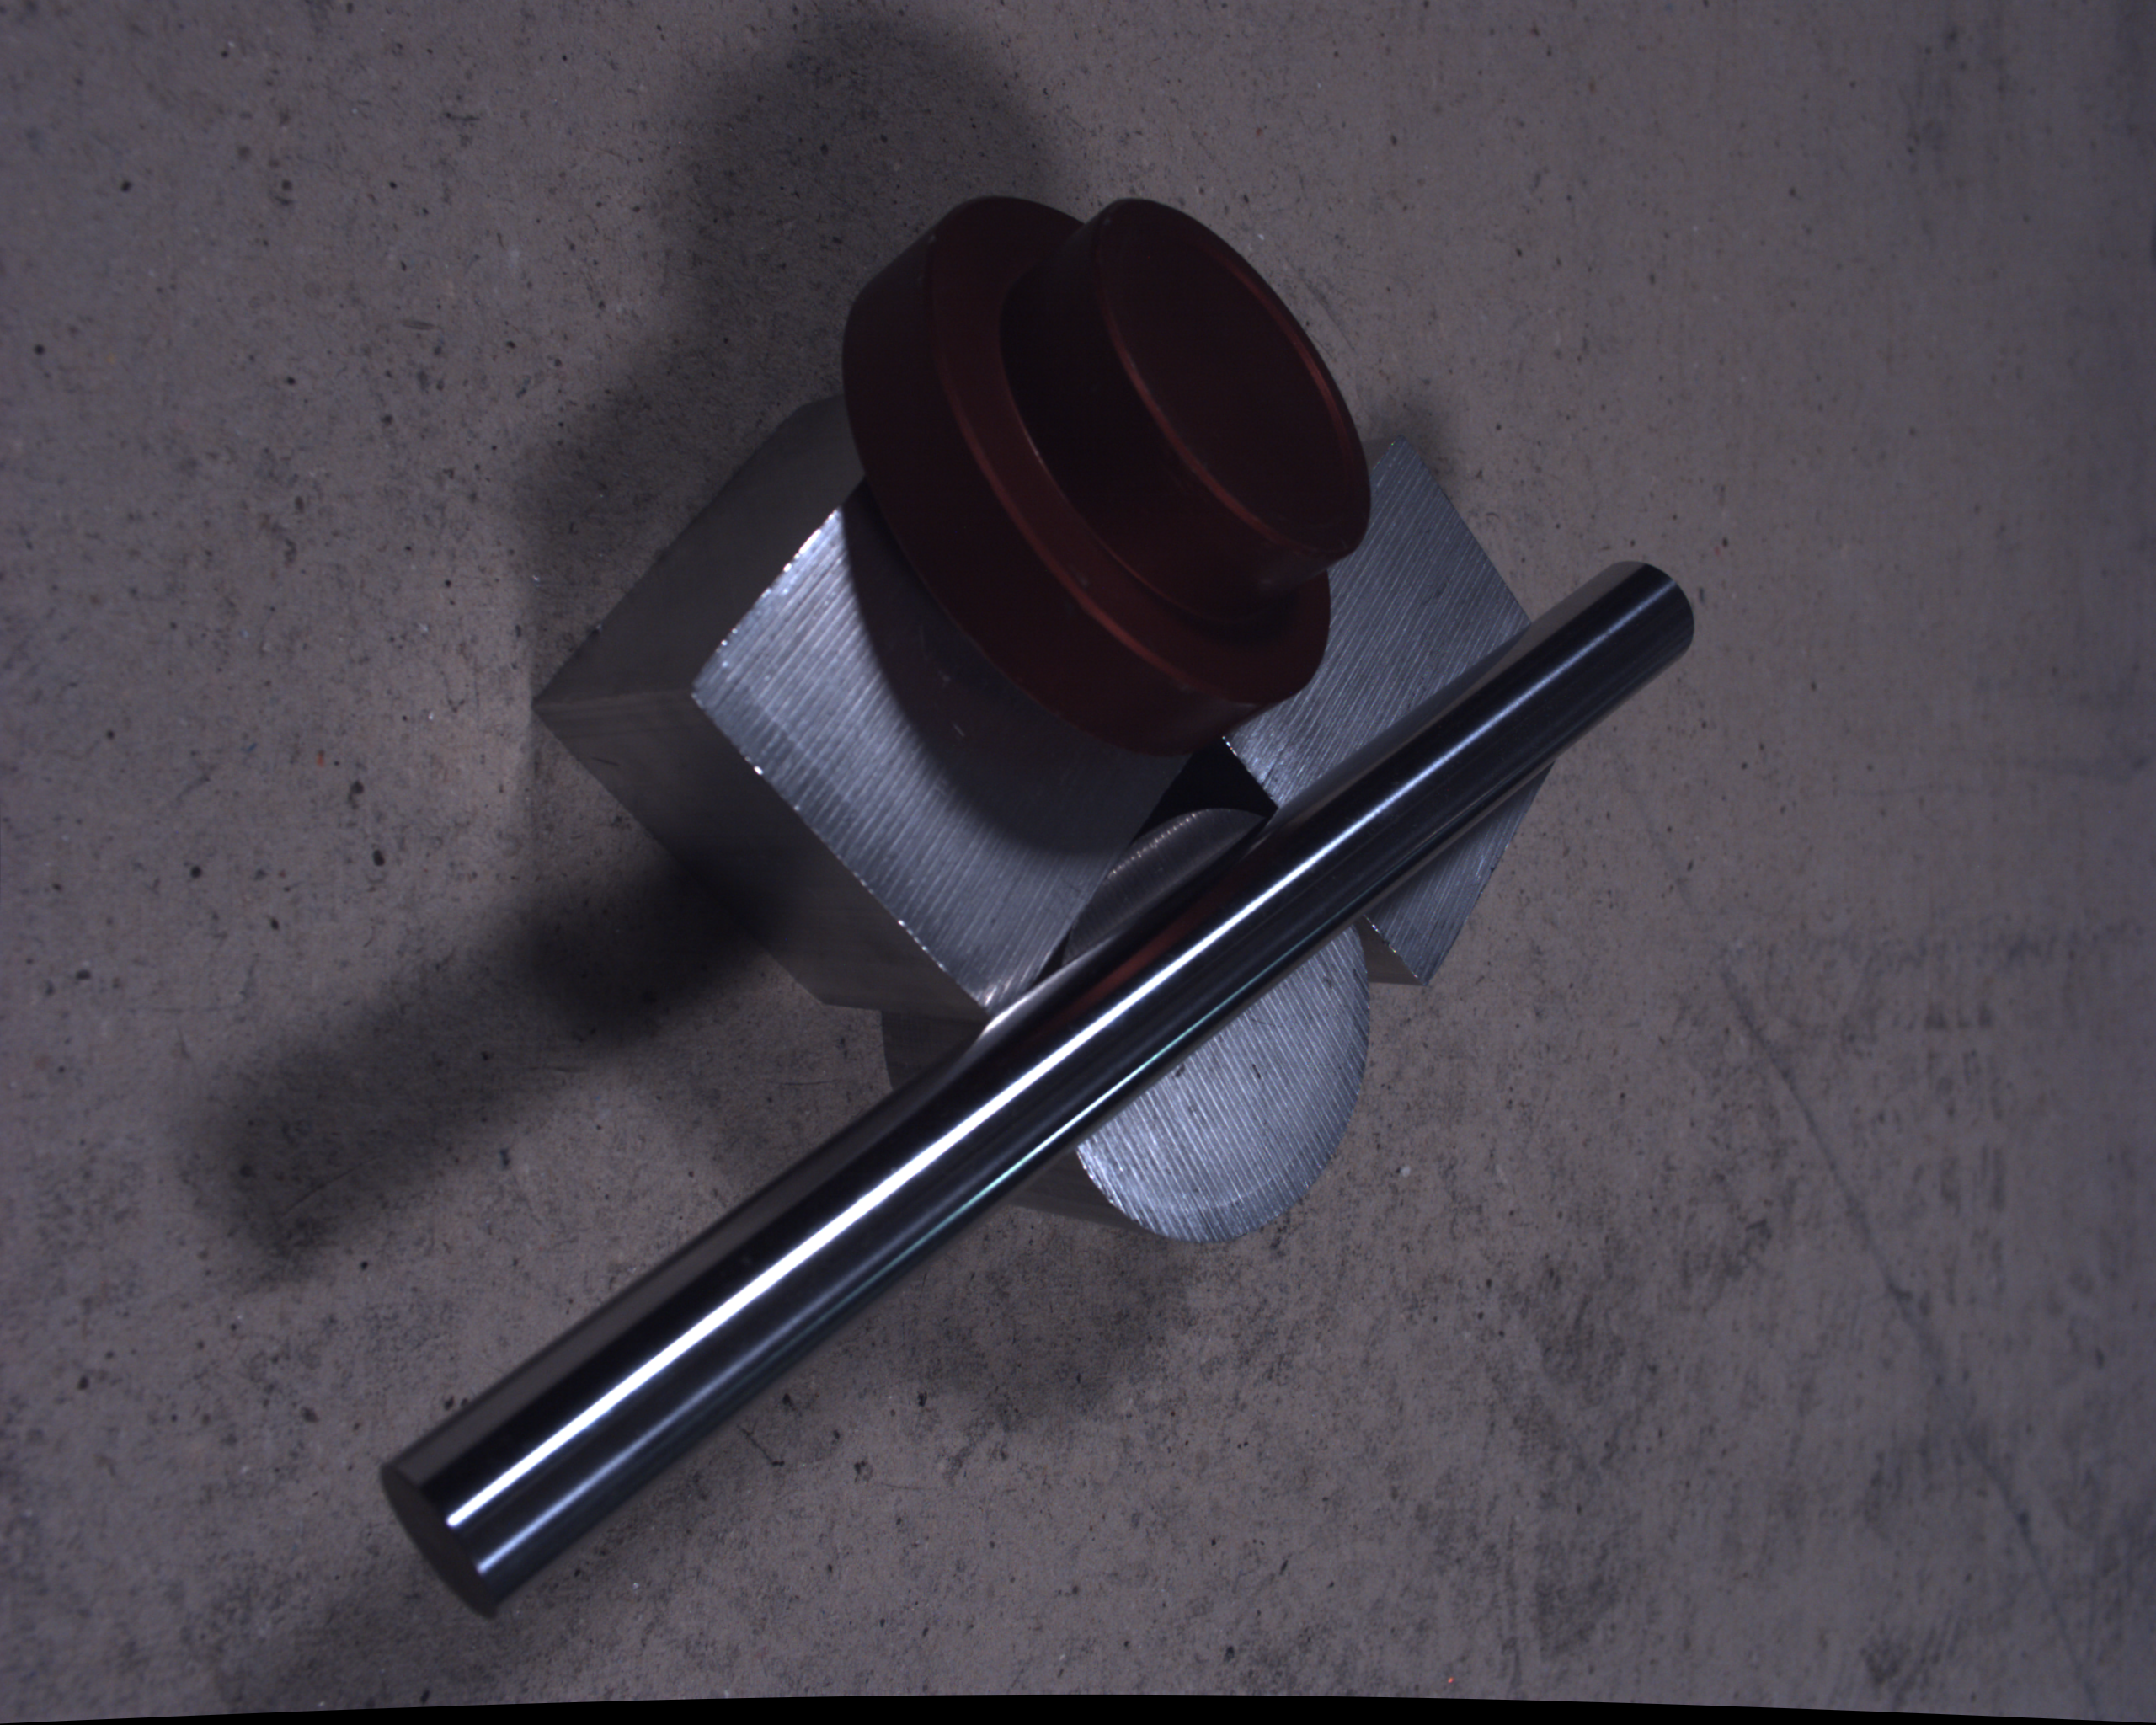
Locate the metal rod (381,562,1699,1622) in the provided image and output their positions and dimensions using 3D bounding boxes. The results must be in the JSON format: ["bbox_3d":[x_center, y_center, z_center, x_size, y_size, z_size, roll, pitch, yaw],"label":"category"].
[{"bbox_3d":[0.019,0.018,0.358,0.302,0.025,0.025,-35,112,-35],"label":"metal rod"}]

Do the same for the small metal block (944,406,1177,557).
[{"bbox_3d":[0.002,-0.069,0.408,0.050,0.025,0.050,50,60,-29],"label":"small metal block"}]

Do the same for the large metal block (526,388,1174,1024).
[{"bbox_3d":[-0.032,-0.029,0.363,0.080,0.050,0.080,50,60,-29],"label":"large metal block"}]

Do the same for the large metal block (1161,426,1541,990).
[{"bbox_3d":[0.051,-0.031,0.435,0.080,0.050,0.080,49,61,-29],"label":"large metal block"}]

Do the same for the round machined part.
[{"bbox_3d":[0.012,-0.070,0.349,0.098,0.042,0.098,32,42,-34],"label":"round machined part"}]

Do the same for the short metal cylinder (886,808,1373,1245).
[{"bbox_3d":[0.011,0.030,0.400,0.081,0.050,0.079,0,90,-40],"label":"short metal cylinder"}]
